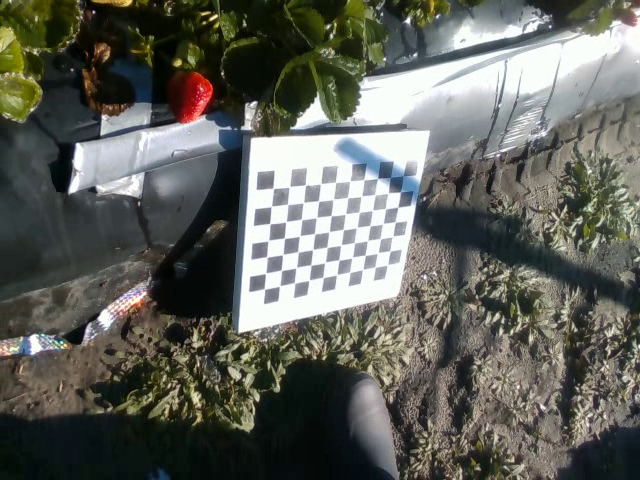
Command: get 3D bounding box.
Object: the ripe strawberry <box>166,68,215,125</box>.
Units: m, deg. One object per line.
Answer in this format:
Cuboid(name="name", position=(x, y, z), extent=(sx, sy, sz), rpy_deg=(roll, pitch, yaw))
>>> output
Cuboid(name="ripe strawberry", position=(-0.149, -0.157, 0.666), extent=(0.057, 0.065, 0.061), rpy_deg=(-21, -34, 33))
